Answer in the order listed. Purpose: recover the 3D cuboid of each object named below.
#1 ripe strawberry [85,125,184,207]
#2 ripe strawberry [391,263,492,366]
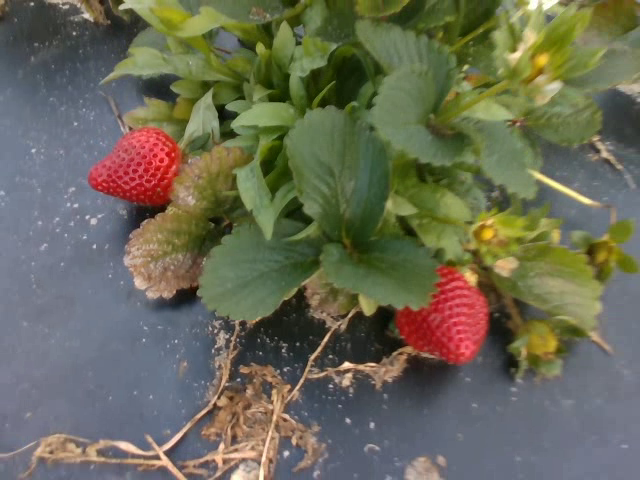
[{"bbox_3d":[-0.089,-0.033,0.312,0.051,0.043,0.043,-27,-25,-25],"label":"ripe strawberry"},{"bbox_3d":[0.054,0.035,0.274,0.043,0.046,0.046,-24,38,4],"label":"ripe strawberry"}]
